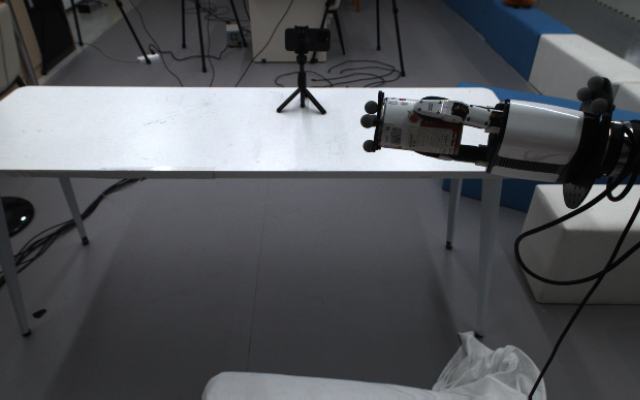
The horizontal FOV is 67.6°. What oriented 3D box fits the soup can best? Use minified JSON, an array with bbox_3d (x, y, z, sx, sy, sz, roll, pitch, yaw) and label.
[{"bbox_3d":[0.134,-0.098,0.634,0.101,0.067,0.067,7,35,10],"label":"soup can"}]
